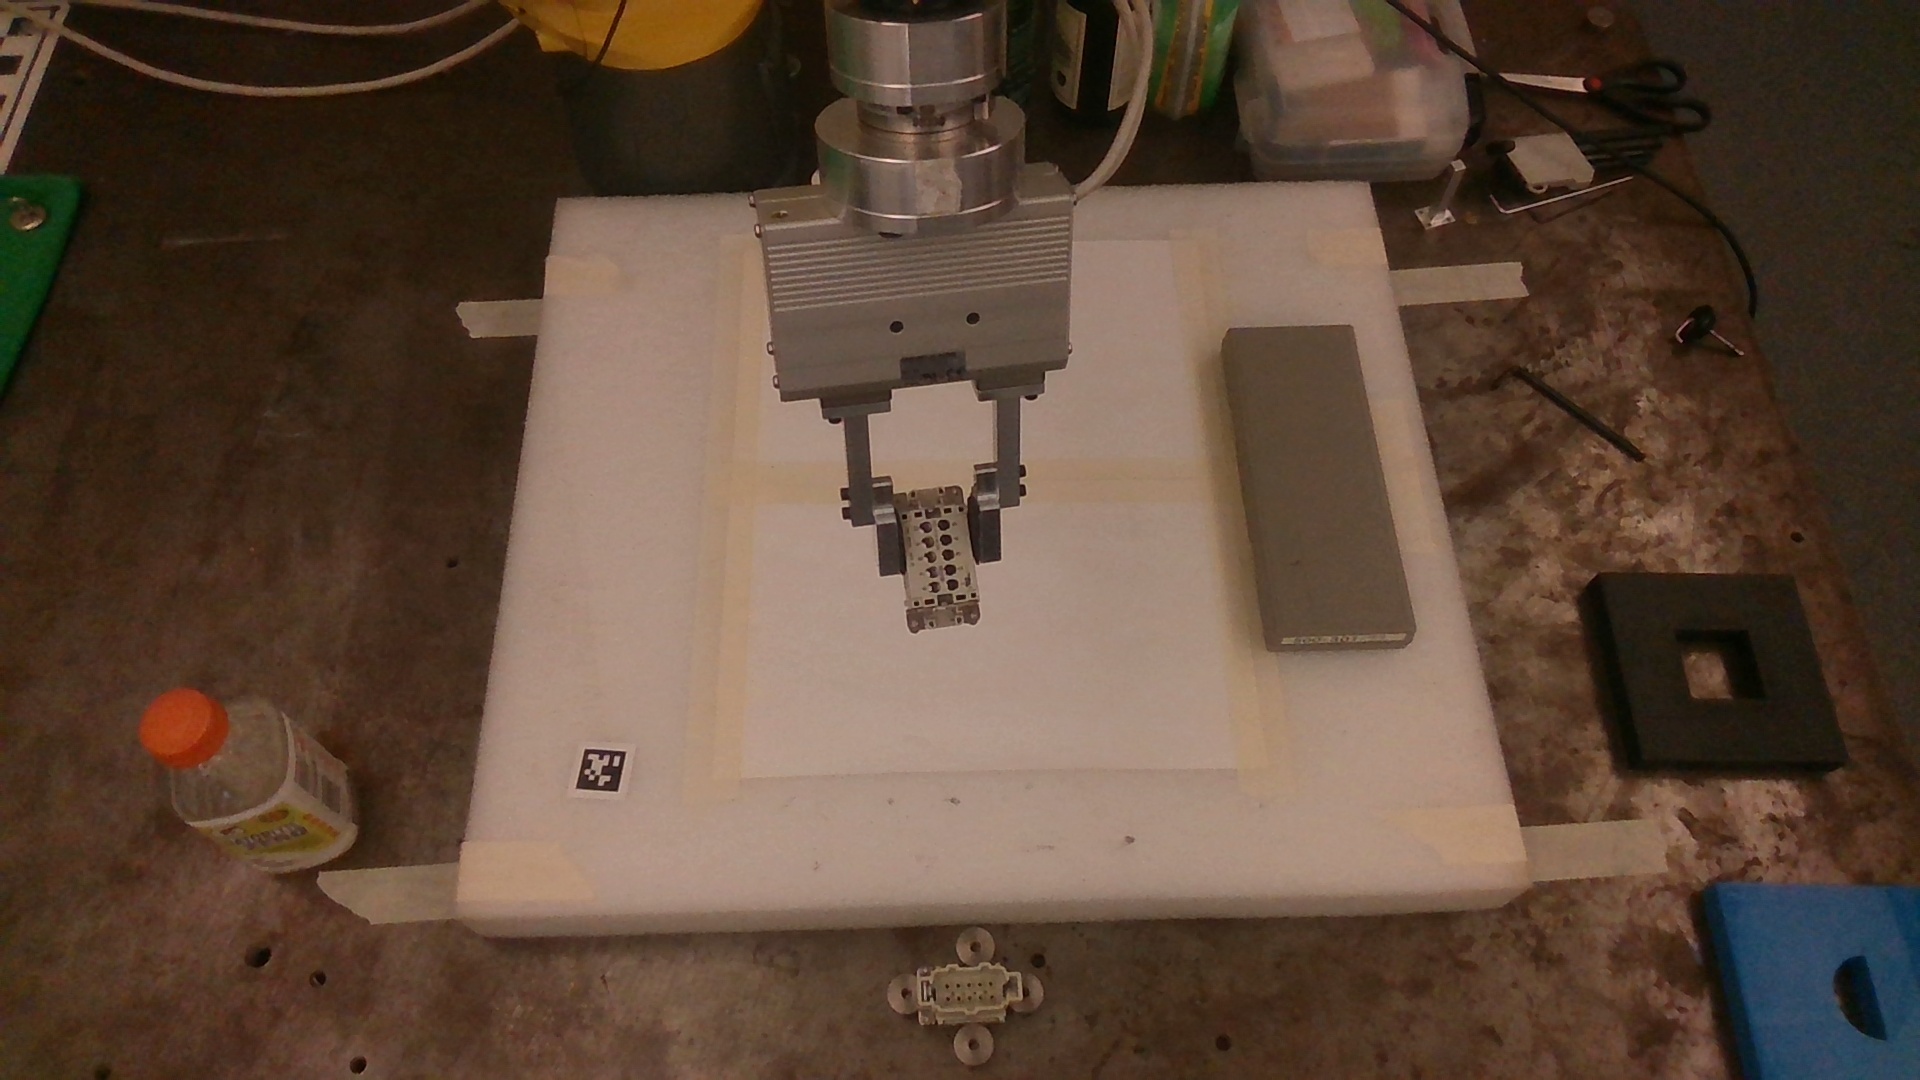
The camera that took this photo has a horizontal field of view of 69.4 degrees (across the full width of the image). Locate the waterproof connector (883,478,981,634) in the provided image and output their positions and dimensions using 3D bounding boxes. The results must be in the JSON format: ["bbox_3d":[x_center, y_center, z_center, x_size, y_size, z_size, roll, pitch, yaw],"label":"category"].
[{"bbox_3d":[-0.013,0.007,0.626,0.036,0.038,0.069,-8,85,-8],"label":"waterproof connector"}]
